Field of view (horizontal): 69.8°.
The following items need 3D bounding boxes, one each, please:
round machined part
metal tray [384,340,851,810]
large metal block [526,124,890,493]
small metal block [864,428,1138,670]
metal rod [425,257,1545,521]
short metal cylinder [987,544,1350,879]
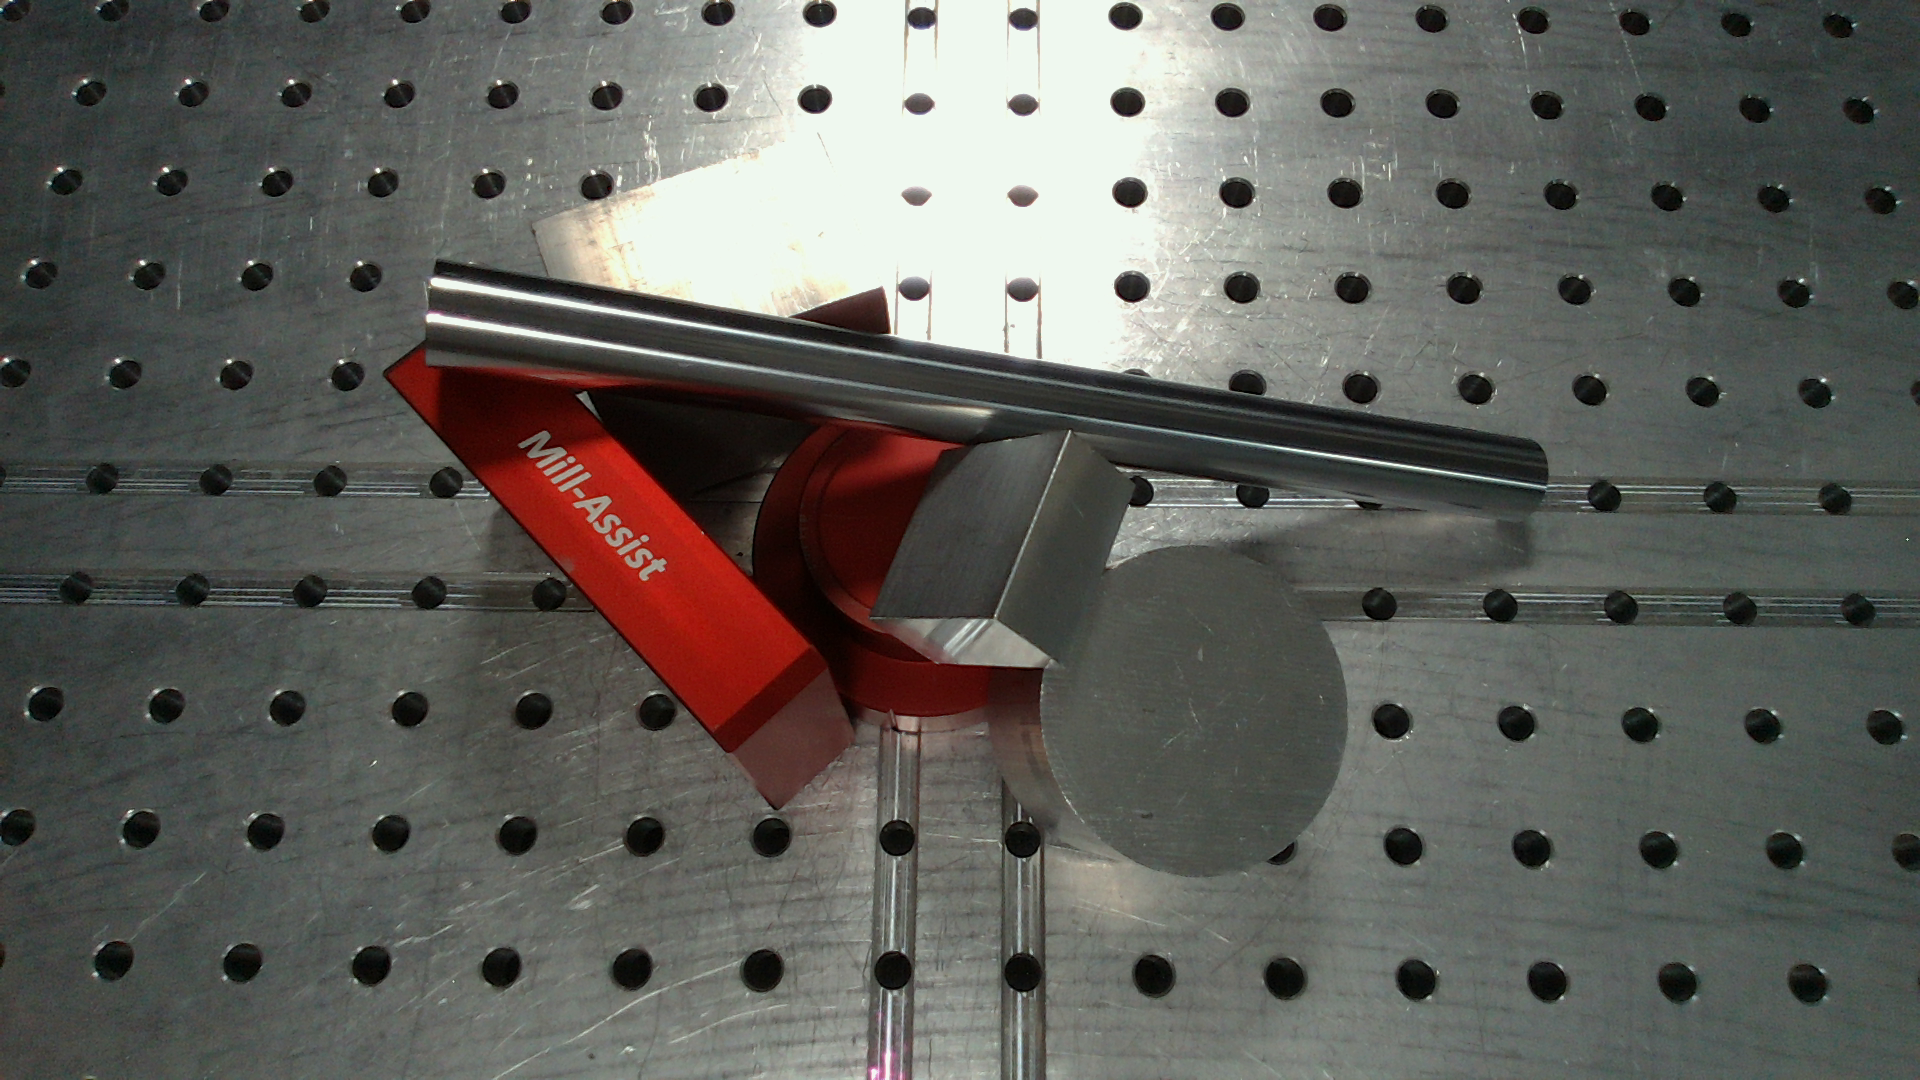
[{"bbox_3d":[-0.010,0.002,0.390,0.098,0.042,0.098,0,70,0],"label":"round machined part"},{"bbox_3d":[-0.085,0.007,0.359,0.030,0.090,0.130,-42,75,-13],"label":"metal tray"},{"bbox_3d":[-0.065,-0.061,0.388,0.080,0.080,0.050,-20,71,-7],"label":"large metal block"},{"bbox_3d":[0.010,0.003,0.336,0.025,0.050,0.050,36,66,-32],"label":"small metal block"},{"bbox_3d":[0.022,-0.035,0.359,0.301,0.025,0.025,7,69,-18],"label":"metal rod"},{"bbox_3d":[0.052,0.044,0.355,0.080,0.050,0.080,2,82,-14],"label":"short metal cylinder"}]
